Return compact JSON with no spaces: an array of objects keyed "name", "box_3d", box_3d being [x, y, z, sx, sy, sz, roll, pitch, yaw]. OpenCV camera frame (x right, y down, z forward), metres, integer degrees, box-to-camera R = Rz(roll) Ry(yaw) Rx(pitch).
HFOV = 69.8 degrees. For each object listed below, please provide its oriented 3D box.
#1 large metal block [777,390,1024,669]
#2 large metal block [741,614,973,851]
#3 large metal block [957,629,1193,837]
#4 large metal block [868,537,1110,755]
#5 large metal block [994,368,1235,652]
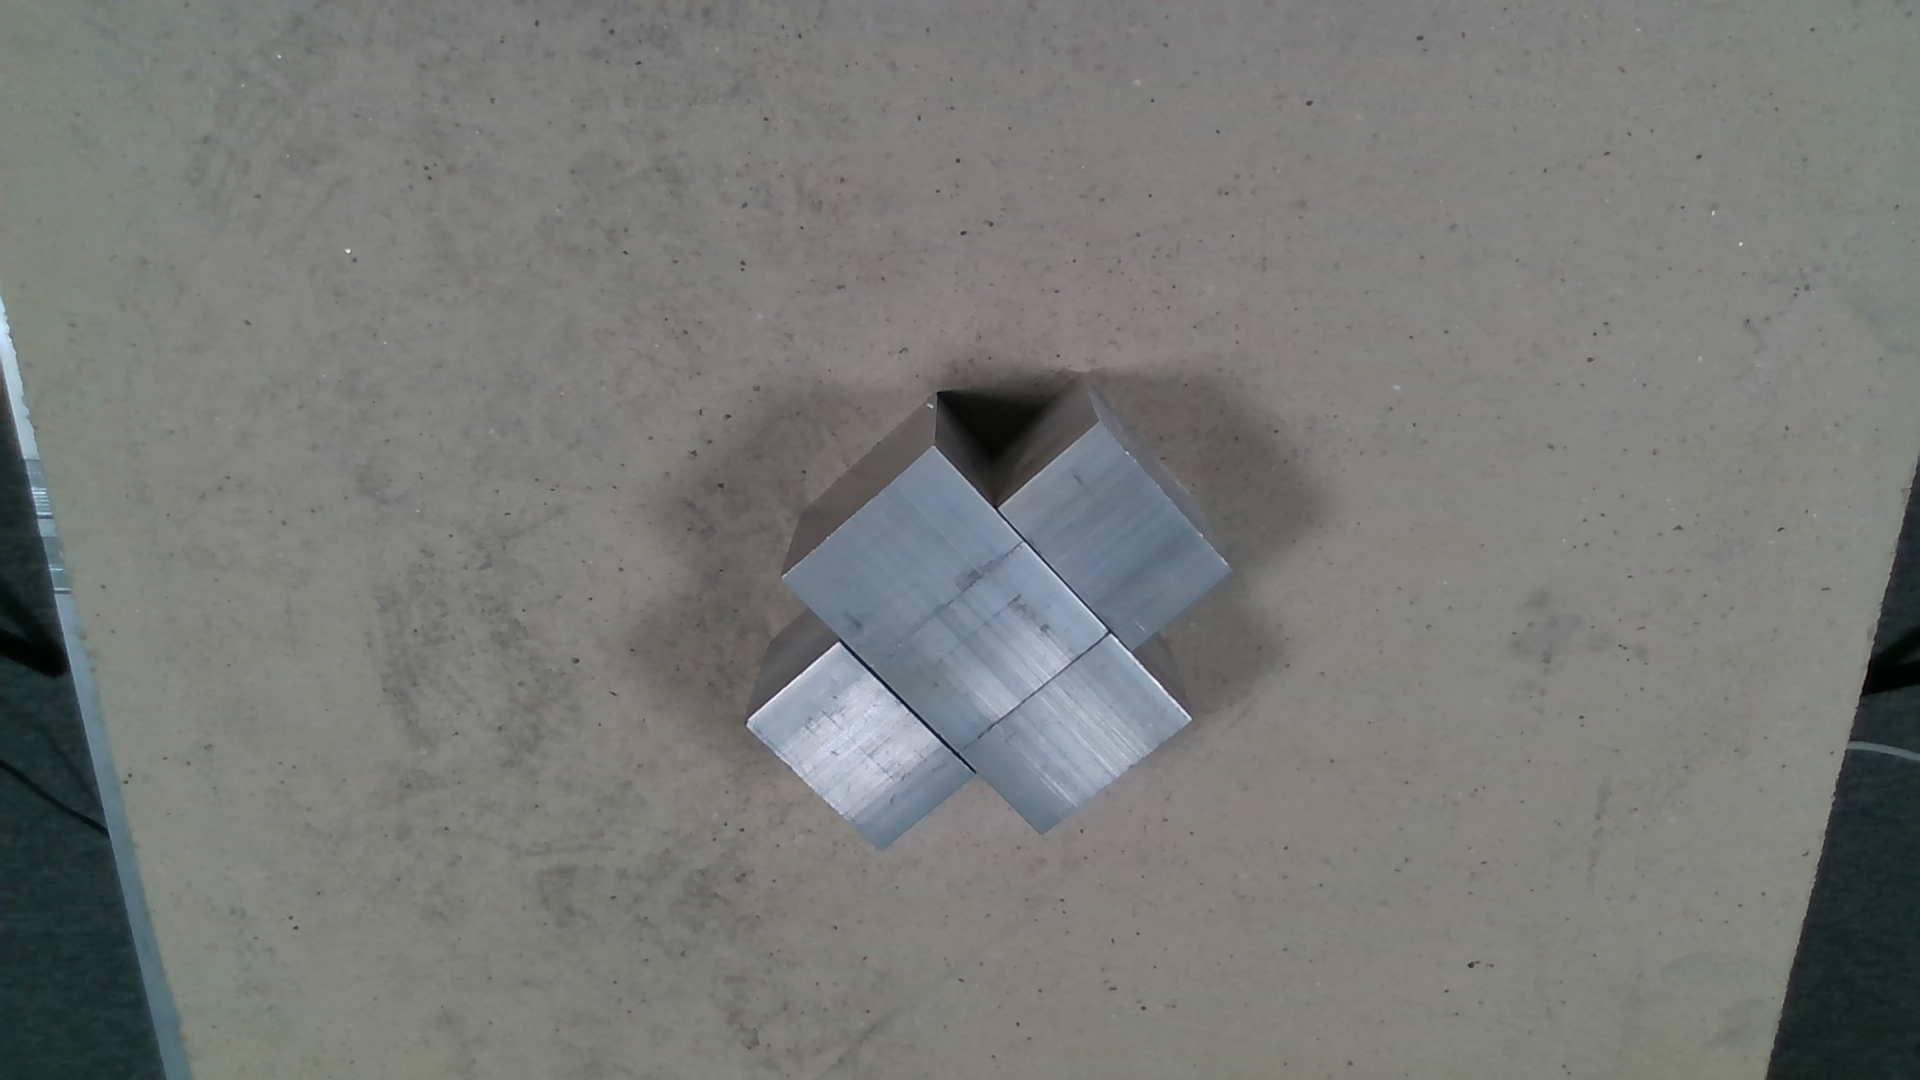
[{"name":"large metal block","box_3d":[-0.022,-0.007,0.554,0.080,0.080,0.050,-40,105,13]},{"name":"large metal block","box_3d":[-0.040,0.069,0.582,0.050,0.080,0.080,-40,105,13]},{"name":"large metal block","box_3d":[0.045,0.064,0.580,0.080,0.080,0.050,-40,105,13]},{"name":"large metal block","box_3d":[0.011,0.029,0.567,0.080,0.080,0.050,-40,105,13]},{"name":"large metal block","box_3d":[0.058,-0.014,0.551,0.050,0.080,0.080,-40,105,13]}]
